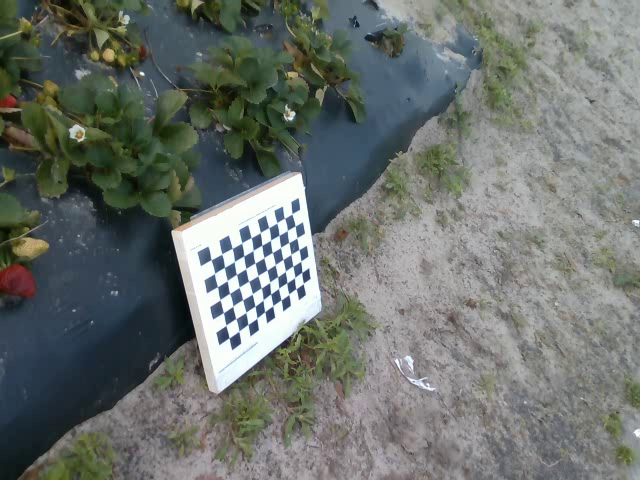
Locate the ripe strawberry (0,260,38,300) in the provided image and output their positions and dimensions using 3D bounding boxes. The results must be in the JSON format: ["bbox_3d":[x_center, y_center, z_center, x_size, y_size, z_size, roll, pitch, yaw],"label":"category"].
[{"bbox_3d":[-0.364,0.056,0.726,0.059,0.046,0.046,27,42,23],"label":"ripe strawberry"}]
